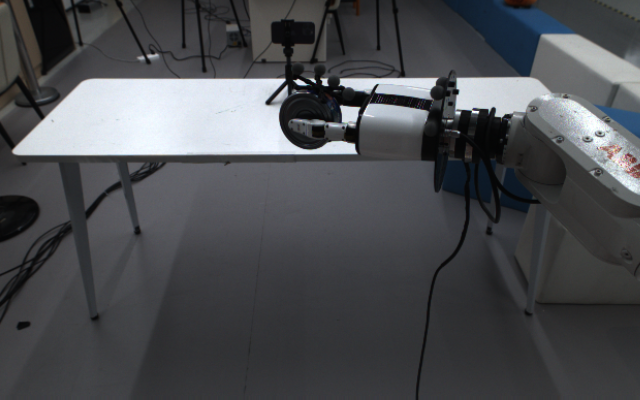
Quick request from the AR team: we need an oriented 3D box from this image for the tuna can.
[{"bbox_3d":[-0.014,-0.117,0.690,0.085,0.085,0.034,15,31,18],"label":"tuna can"}]
